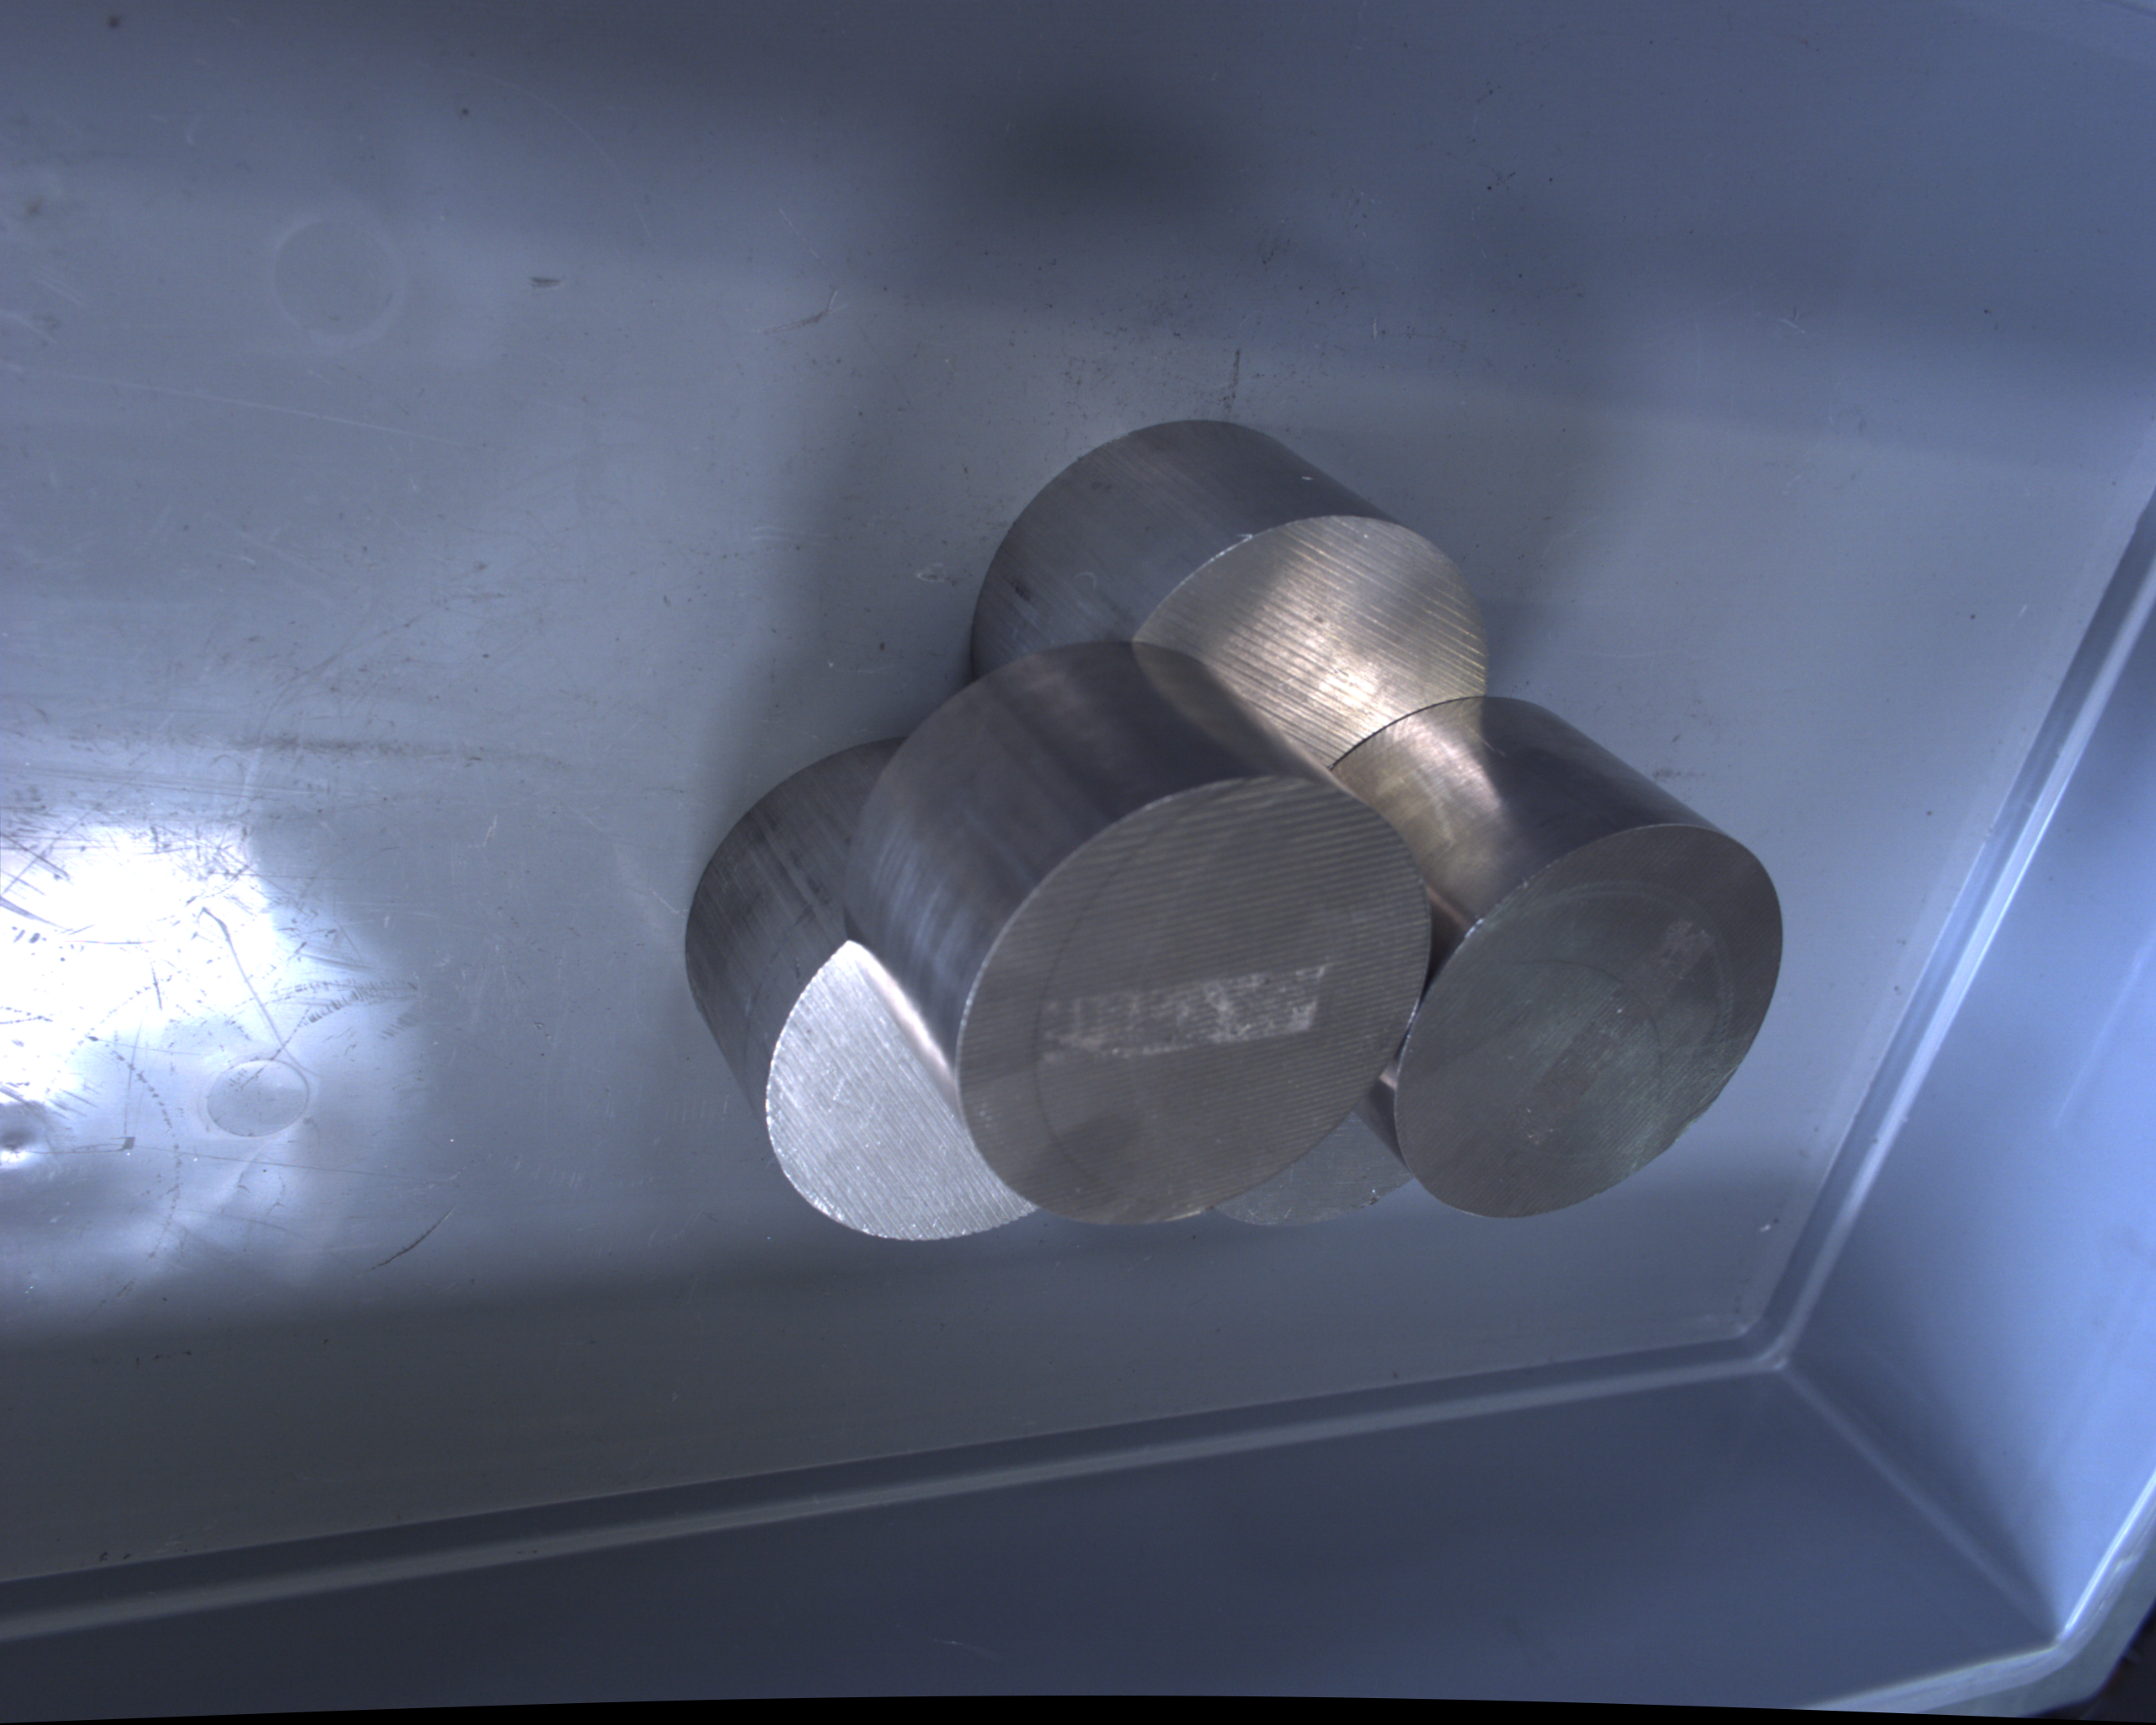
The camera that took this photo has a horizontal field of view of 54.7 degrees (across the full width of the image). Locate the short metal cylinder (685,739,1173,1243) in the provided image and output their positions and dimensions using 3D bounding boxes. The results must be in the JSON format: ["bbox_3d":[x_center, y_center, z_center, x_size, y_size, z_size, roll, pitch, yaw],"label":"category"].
[{"bbox_3d":[-0.027,0.024,0.390,0.081,0.050,0.079,-14,124,-21],"label":"short metal cylinder"}]

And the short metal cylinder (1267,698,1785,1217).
[{"bbox_3d":[0.079,0.017,0.378,0.081,0.050,0.079,-14,124,-21],"label":"short metal cylinder"}]

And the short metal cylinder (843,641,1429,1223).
[{"bbox_3d":[0.009,0.011,0.337,0.081,0.050,0.079,-14,124,-21],"label":"short metal cylinder"}]

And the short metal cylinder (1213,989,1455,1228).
[{"bbox_3d":[0.044,0.028,0.431,0.081,0.050,0.079,-14,124,-21],"label":"short metal cylinder"}]

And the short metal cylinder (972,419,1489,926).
[{"bbox_3d":[0.027,-0.035,0.384,0.081,0.050,0.079,-14,124,-21],"label":"short metal cylinder"}]
